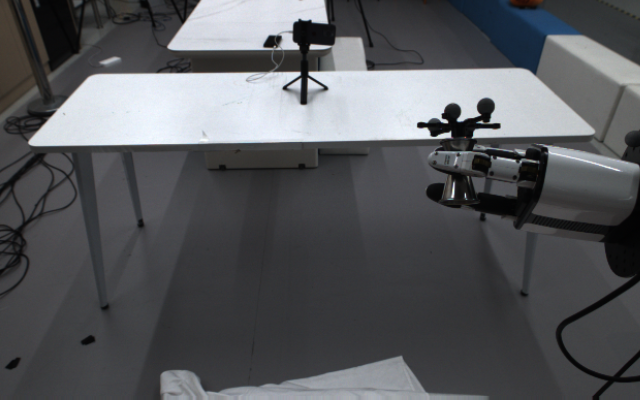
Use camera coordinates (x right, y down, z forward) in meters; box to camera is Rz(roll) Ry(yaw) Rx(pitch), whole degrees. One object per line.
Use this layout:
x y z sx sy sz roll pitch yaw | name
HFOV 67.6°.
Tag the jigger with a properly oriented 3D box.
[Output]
0.149 -0.032 0.530 0.043 0.071 0.043 2 -6 0 | jigger
